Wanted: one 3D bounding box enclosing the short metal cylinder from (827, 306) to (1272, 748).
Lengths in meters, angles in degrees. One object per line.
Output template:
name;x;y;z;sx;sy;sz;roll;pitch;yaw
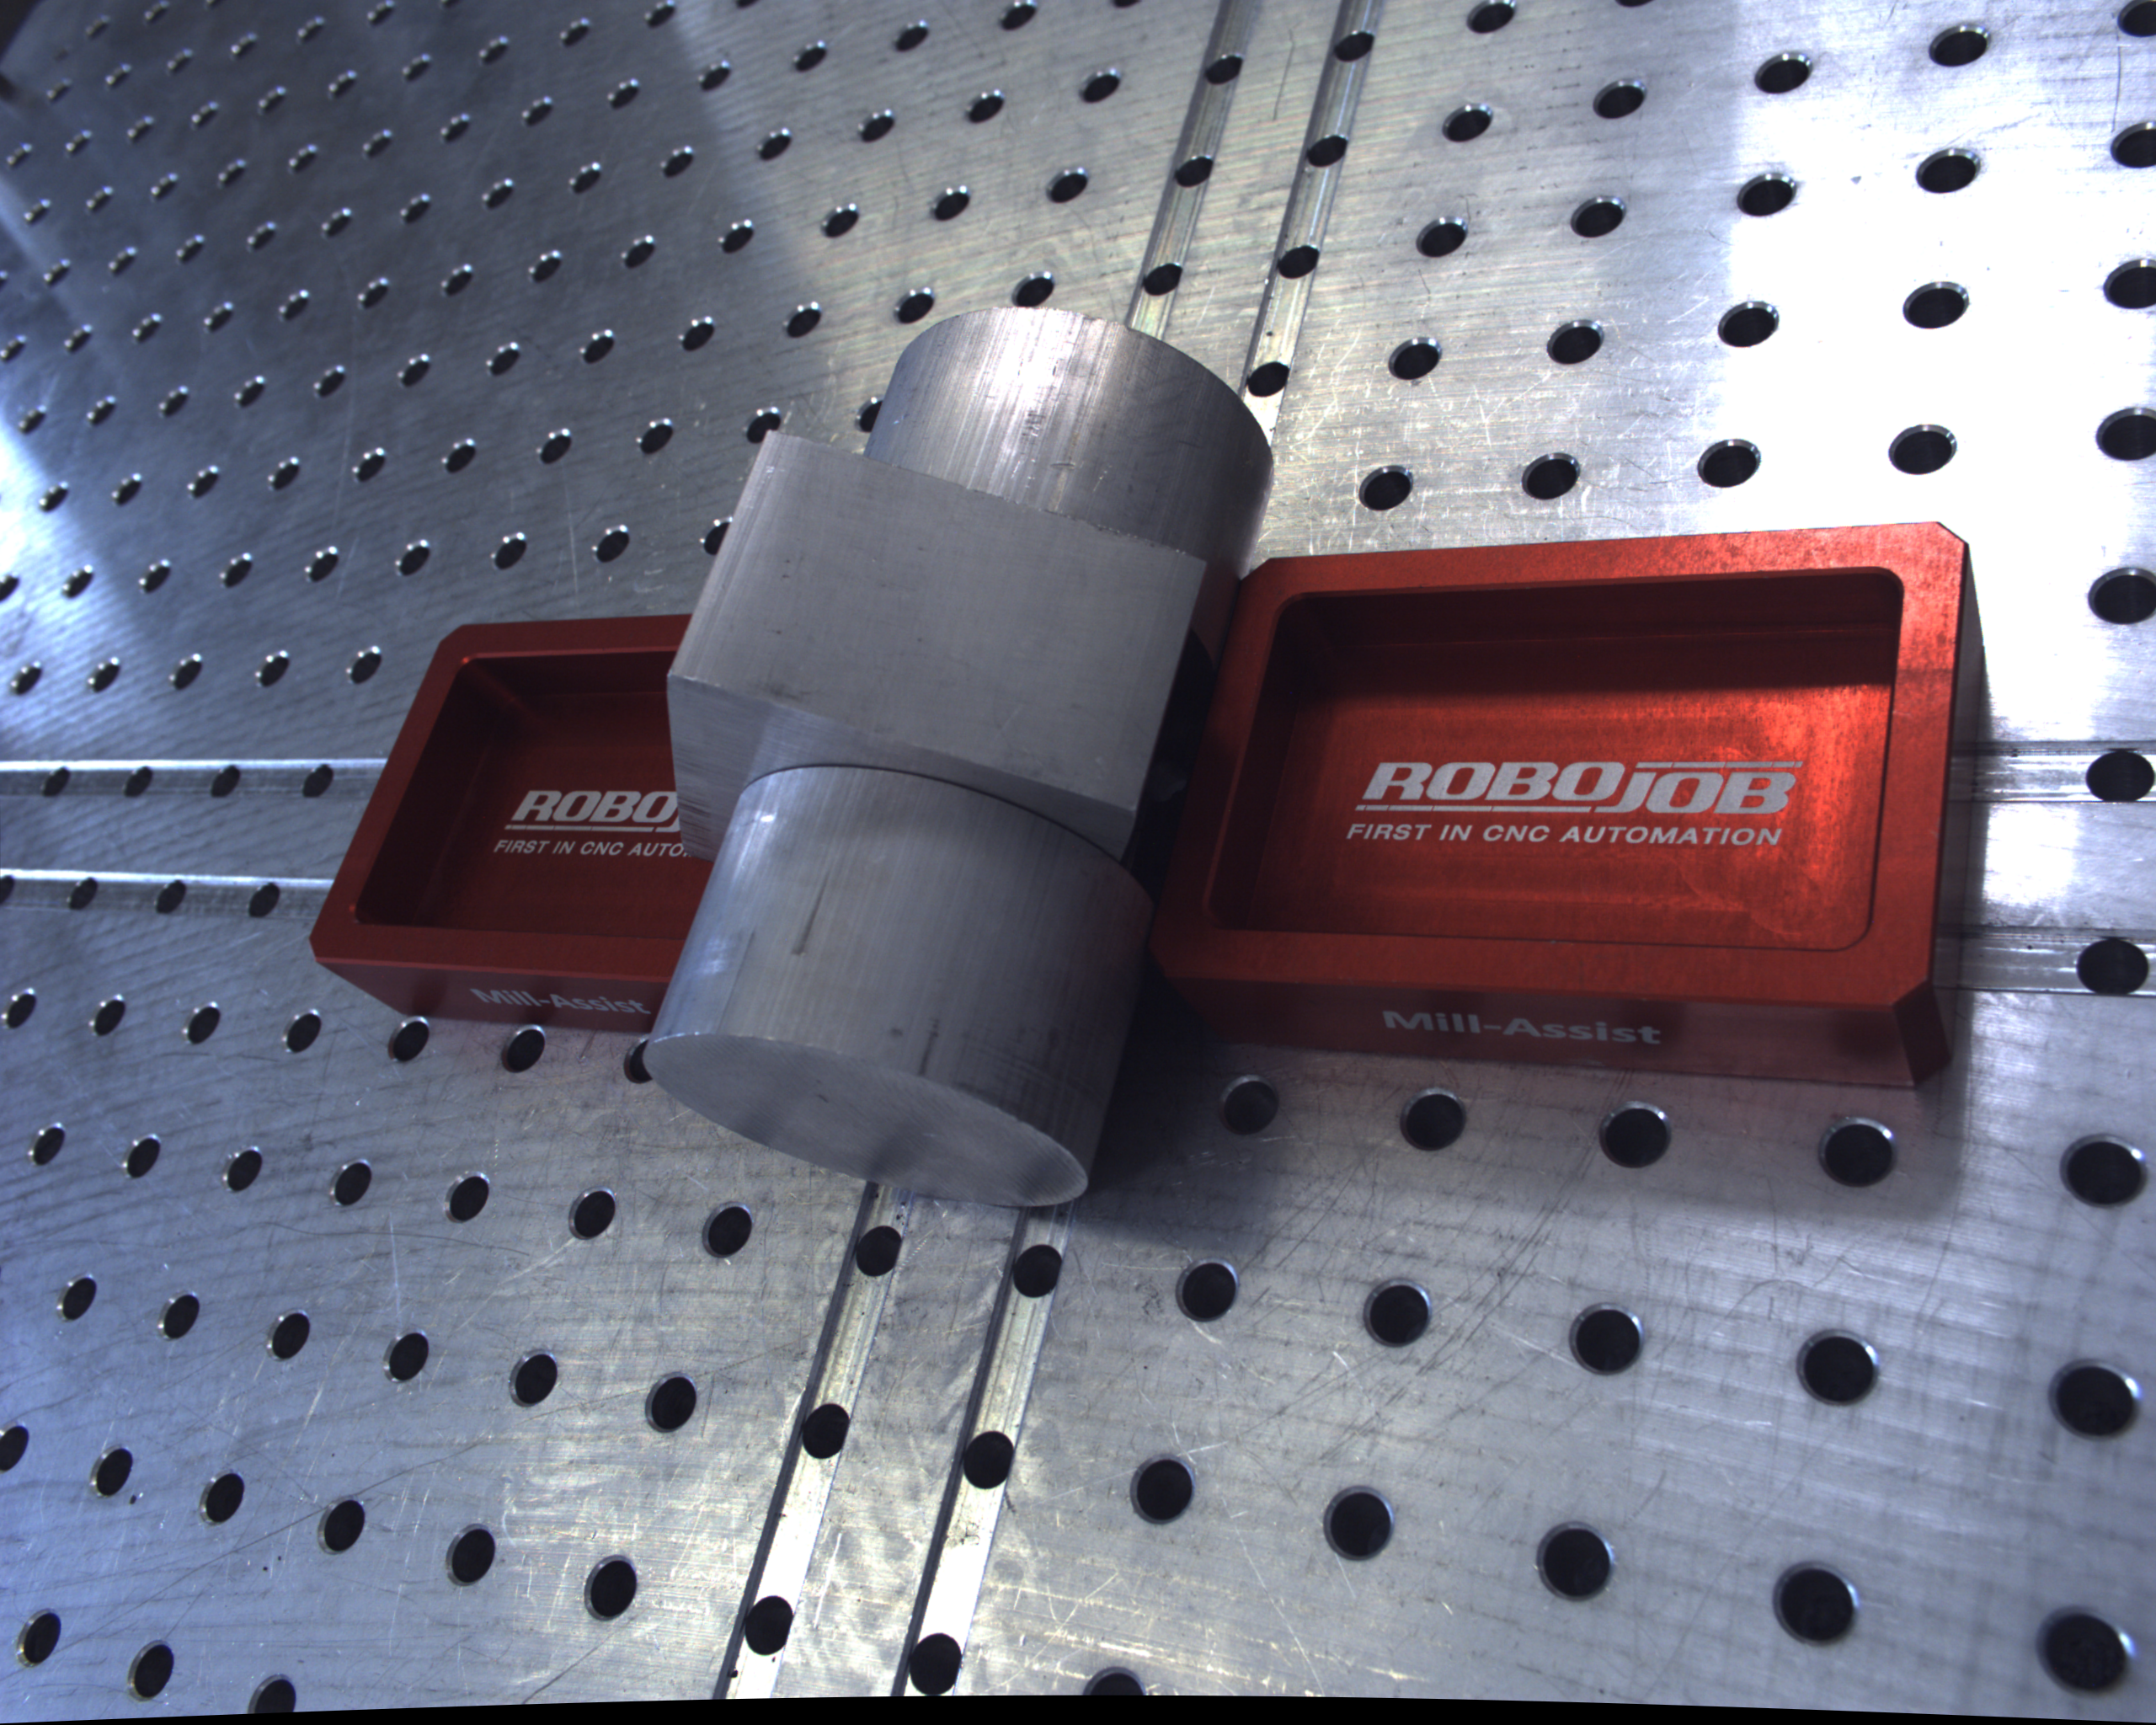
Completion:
short metal cylinder;-0.006;-0.064;0.415;0.080;0.080;0.050;1;63;29

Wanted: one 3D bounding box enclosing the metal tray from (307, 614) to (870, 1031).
metal tray;-0.099;-0.010;0.463;0.130;0.030;0.090;1;62;28

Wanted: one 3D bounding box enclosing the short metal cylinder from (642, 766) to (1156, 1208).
short metal cylinder;-0.031;0.024;0.374;0.080;0.080;0.050;2;63;29

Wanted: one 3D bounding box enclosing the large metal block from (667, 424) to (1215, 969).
large metal block;-0.027;-0.027;0.385;0.080;0.080;0.050;17;66;-2

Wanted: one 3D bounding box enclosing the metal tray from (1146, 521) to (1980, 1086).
metal tray;0.085;-0.012;0.367;0.130;0.030;0.090;1;62;28
